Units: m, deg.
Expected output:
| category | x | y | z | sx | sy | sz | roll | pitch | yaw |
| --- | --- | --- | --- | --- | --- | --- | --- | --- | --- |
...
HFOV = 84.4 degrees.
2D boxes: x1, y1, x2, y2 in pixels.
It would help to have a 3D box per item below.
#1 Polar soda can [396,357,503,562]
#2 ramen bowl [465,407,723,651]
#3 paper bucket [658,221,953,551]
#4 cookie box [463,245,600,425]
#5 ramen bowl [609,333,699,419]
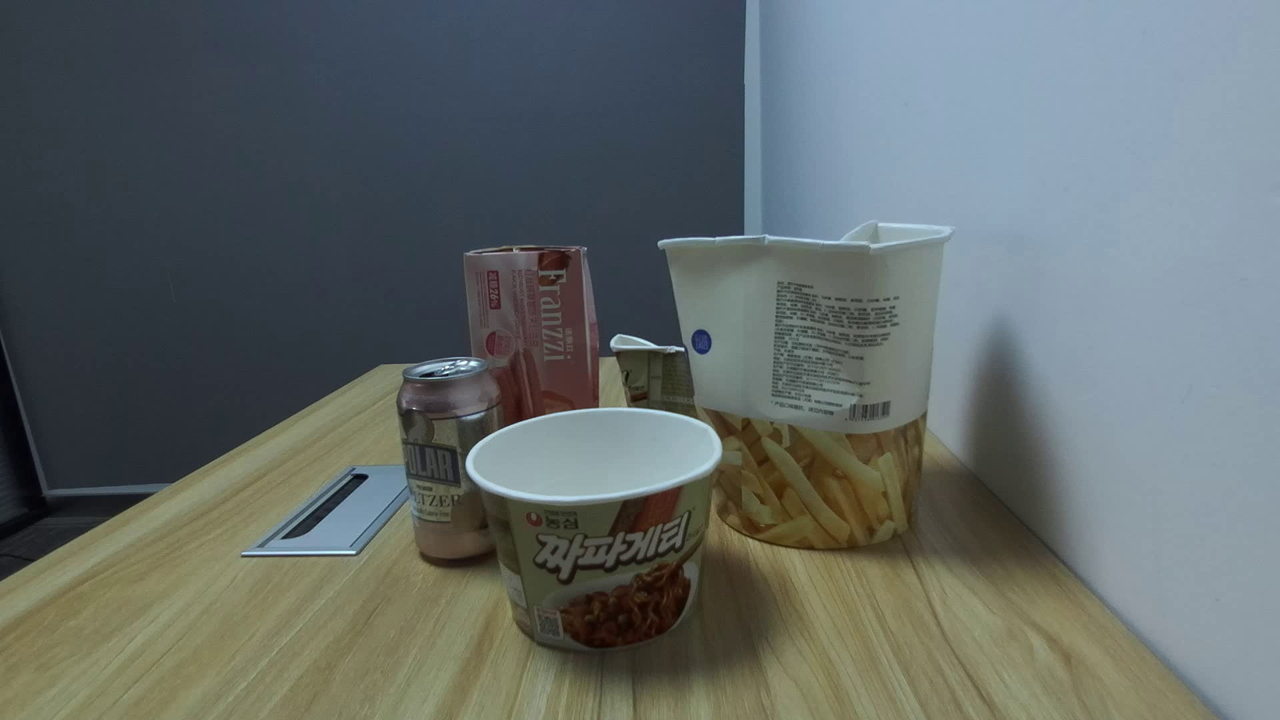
| category | x | y | z | sx | sy | sz | roll | pitch | yaw |
| --- | --- | --- | --- | --- | --- | --- | --- | --- | --- |
| Polar soda can | -0.123 | 0.065 | 0.473 | 0.067 | 0.125 | 0.067 | -5 | 12 | 1 |
| ramen bowl | -0.022 | 0.091 | 0.399 | 0.140 | 0.095 | 0.140 | -2 | 13 | 1 |
| paper bucket | 0.129 | 0.007 | 0.500 | 0.168 | 0.202 | 0.163 | 13 | 19 | 42 |
| cookie box | -0.085 | -0.003 | 0.603 | 0.105 | 0.187 | 0.049 | -2 | 11 | 4 |
| ramen bowl | 0.040 | 0.020 | 0.667 | 0.128 | 0.093 | 0.112 | 1 | 17 | 26 |
